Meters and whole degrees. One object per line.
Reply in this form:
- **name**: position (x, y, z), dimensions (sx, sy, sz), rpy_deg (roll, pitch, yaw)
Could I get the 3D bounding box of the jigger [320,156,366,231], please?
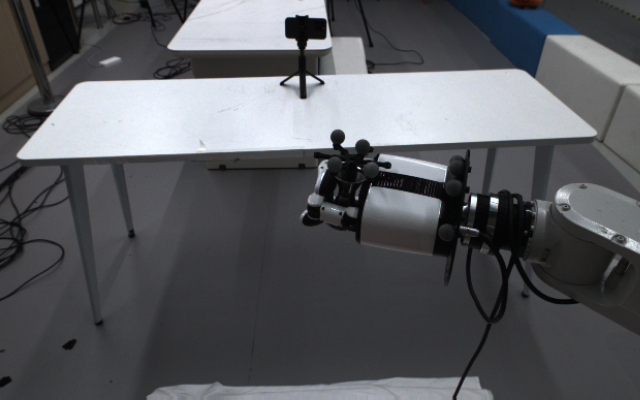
- **jigger**: position (0.030, -0.004, 0.585), dimensions (0.043, 0.071, 0.043), rpy_deg (6, 32, -4)
